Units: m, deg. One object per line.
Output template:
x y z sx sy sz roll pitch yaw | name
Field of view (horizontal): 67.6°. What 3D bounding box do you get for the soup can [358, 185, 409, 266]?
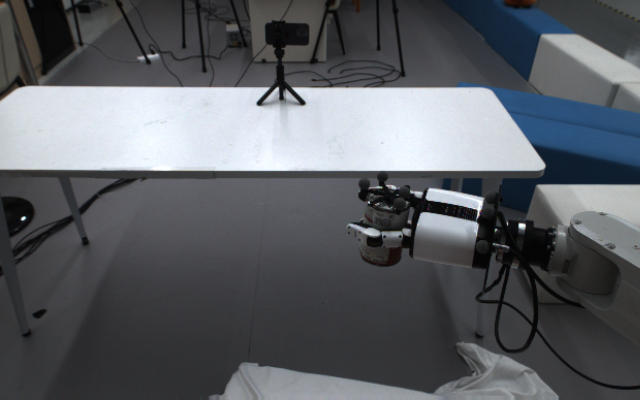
0.099 0.042 0.738 0.067 0.101 0.067 4 30 -2 | soup can
